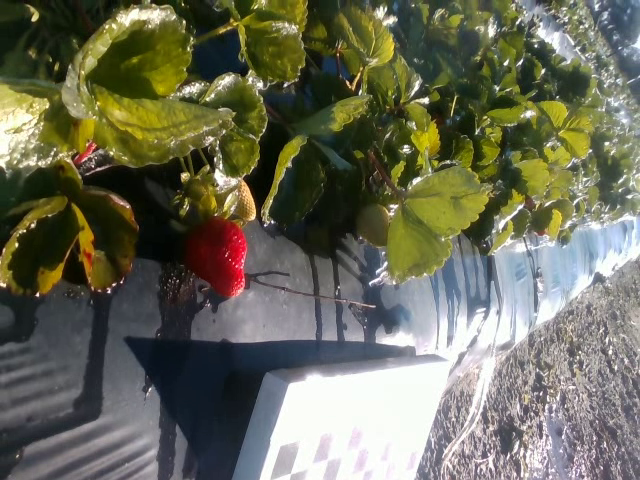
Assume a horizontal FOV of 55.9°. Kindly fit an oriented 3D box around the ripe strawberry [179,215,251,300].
[{"bbox_3d":[-0.042,0.012,0.264,0.039,0.040,0.039,1,42,-44],"label":"ripe strawberry"}]
